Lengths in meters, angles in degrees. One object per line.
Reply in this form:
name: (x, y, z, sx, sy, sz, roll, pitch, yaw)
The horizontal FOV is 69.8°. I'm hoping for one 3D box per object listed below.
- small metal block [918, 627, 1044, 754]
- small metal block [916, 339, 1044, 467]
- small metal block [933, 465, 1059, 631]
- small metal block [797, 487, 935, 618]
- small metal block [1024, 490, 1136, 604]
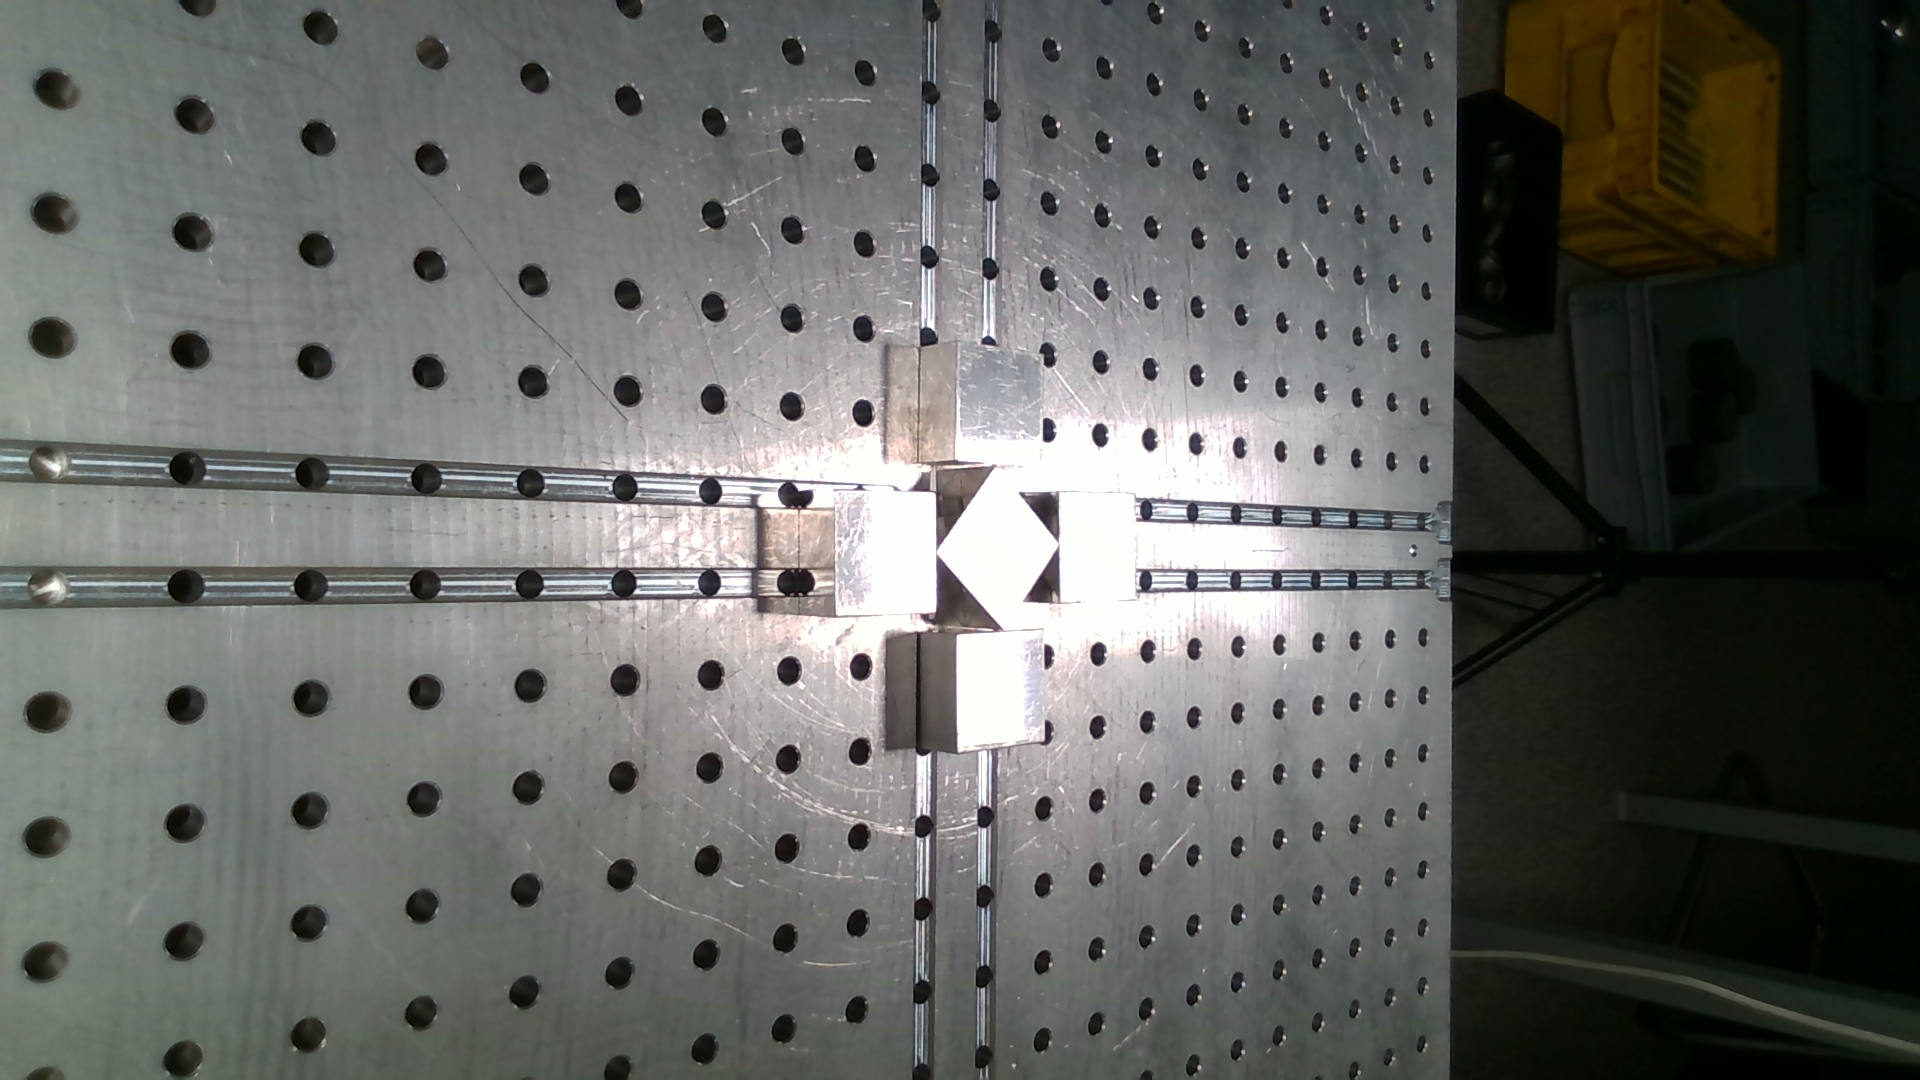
small metal block: (0.009, 0.063, 0.594, 0.050, 0.025, 0.050, -1, 90, -40)
small metal block: (0.009, -0.057, 0.593, 0.050, 0.025, 0.050, 2, 89, -40)
small metal block: (0.009, 0.004, 0.593, 0.050, 0.025, 0.050, 50, 61, -29)
small metal block: (-0.038, 0.005, 0.554, 0.050, 0.025, 0.050, 0, 90, -40)
small metal block: (0.054, 0.003, 0.632, 0.050, 0.025, 0.050, -1, 91, -40)
